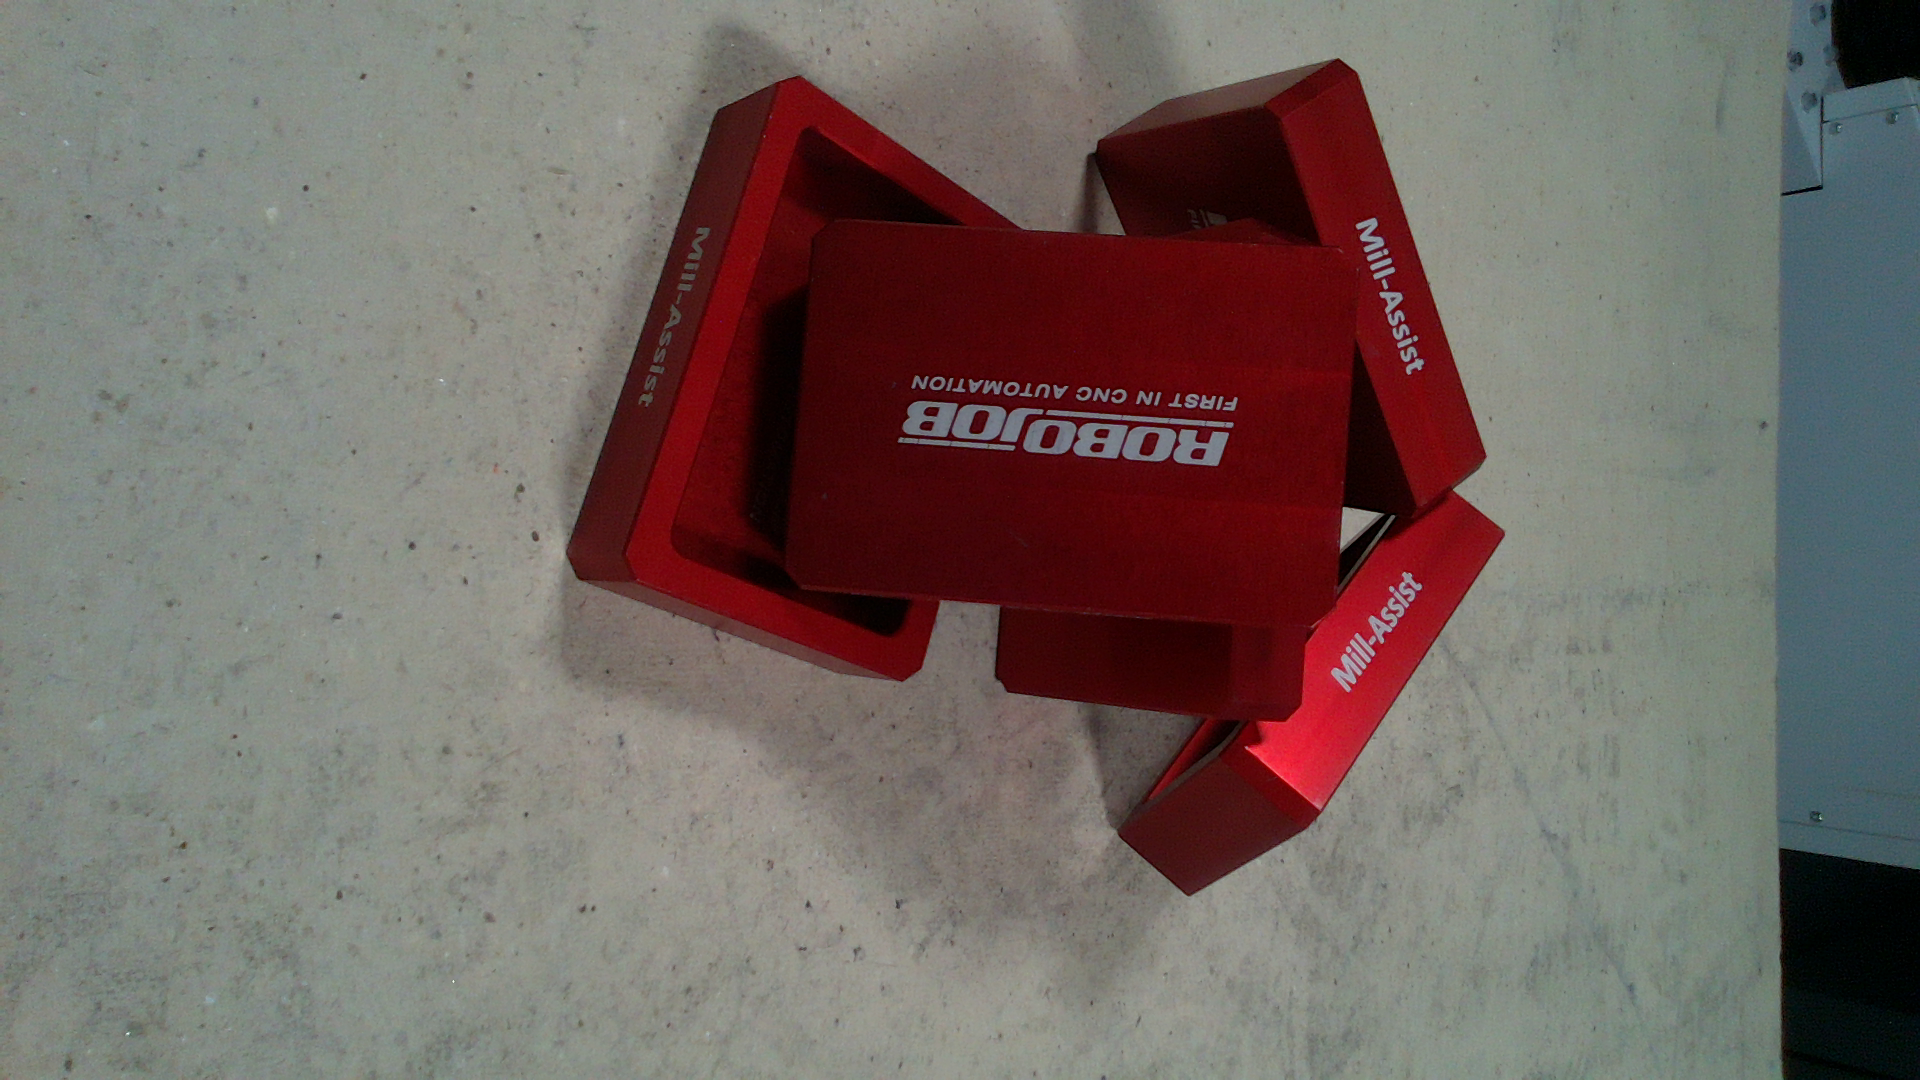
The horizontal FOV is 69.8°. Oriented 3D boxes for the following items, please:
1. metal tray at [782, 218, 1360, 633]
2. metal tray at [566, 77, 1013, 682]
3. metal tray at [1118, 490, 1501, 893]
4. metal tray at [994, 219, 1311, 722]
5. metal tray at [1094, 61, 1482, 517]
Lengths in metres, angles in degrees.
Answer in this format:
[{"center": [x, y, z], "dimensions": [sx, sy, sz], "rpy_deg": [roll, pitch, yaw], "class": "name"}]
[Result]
[{"center": [0.027, -0.027, 0.338], "dimensions": [0.130, 0.030, 0.090], "rpy_deg": [5, 86, 5], "class": "metal tray"}, {"center": [-0.036, -0.038, 0.356], "dimensions": [0.090, 0.030, 0.130], "rpy_deg": [25, 74, -37], "class": "metal tray"}, {"center": [0.111, 0.046, 0.439], "dimensions": [0.030, 0.090, 0.130], "rpy_deg": [40, 60, 7], "class": "metal tray"}, {"center": [0.055, -0.018, 0.393], "dimensions": [0.030, 0.090, 0.130], "rpy_deg": [8, 85, -39], "class": "metal tray"}, {"center": [0.100, -0.074, 0.427], "dimensions": [0.030, 0.090, 0.130], "rpy_deg": [-34, 112, -19], "class": "metal tray"}]
